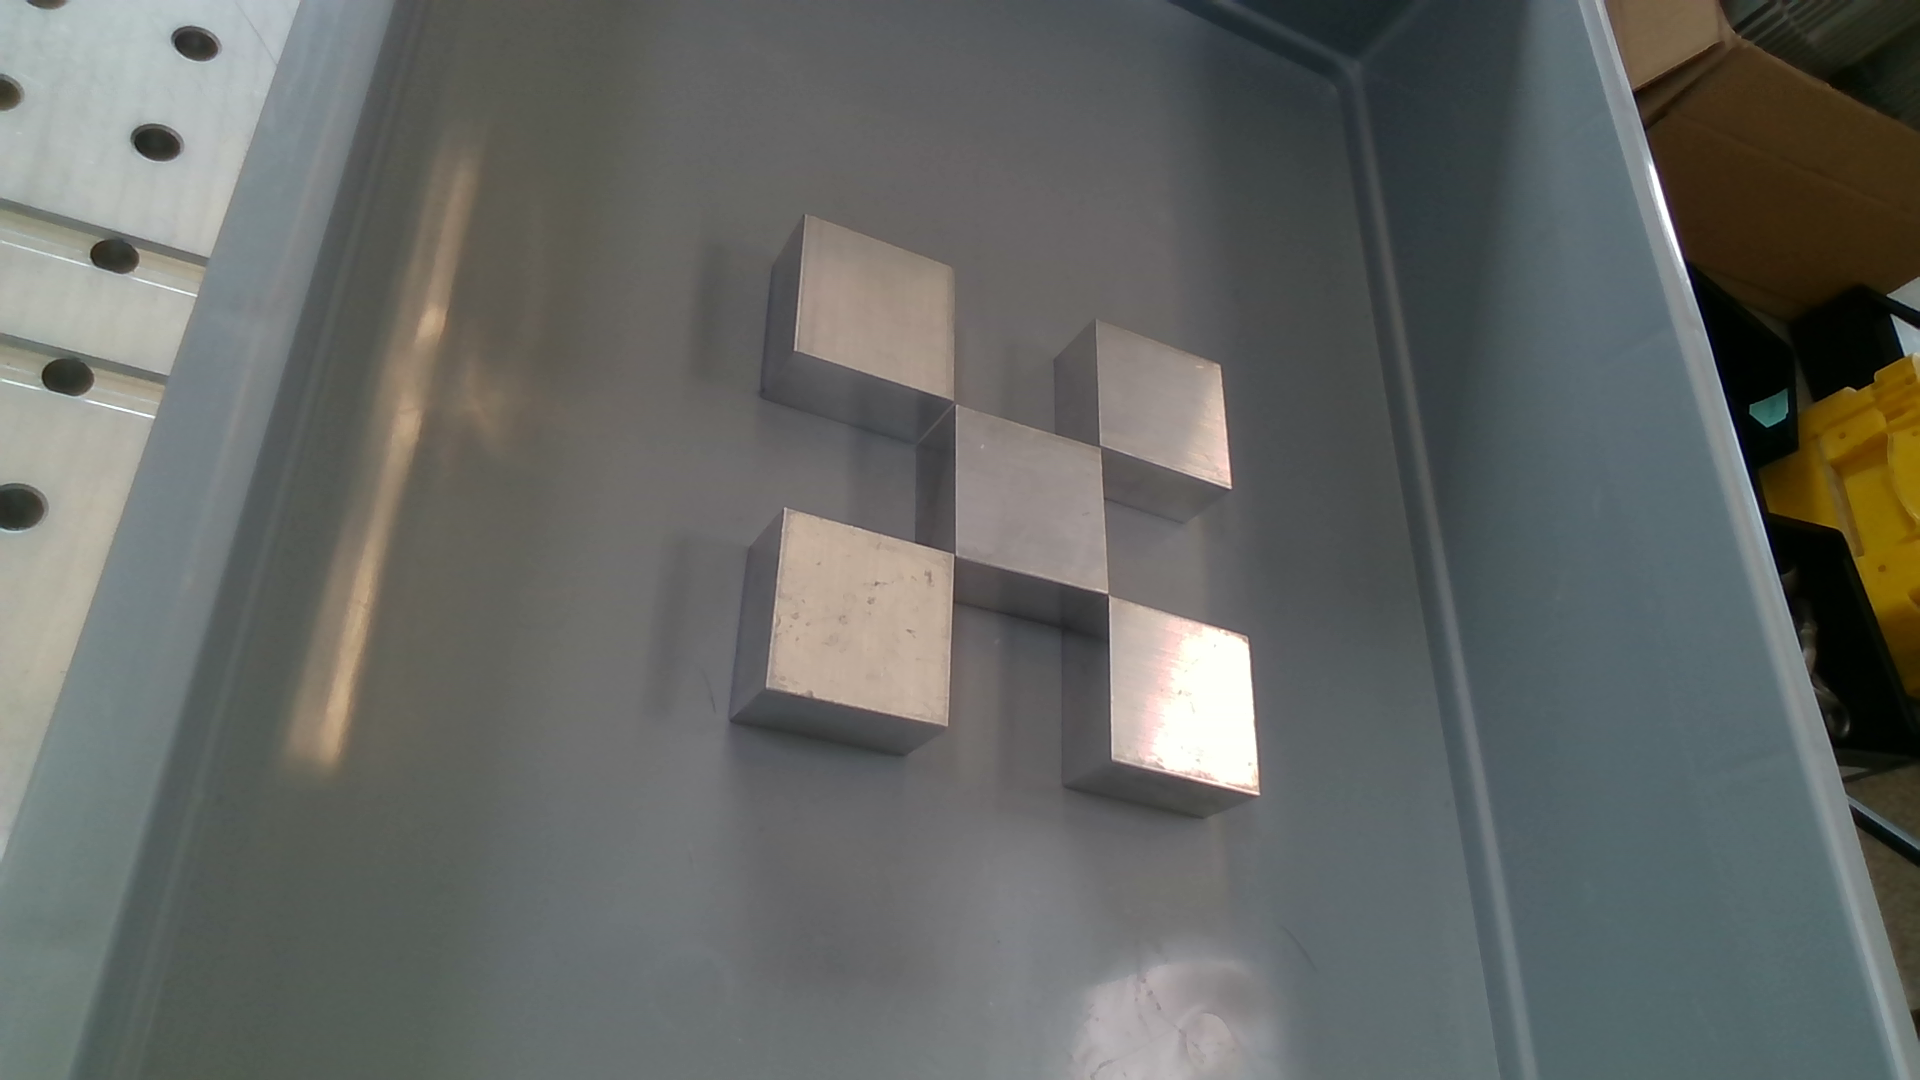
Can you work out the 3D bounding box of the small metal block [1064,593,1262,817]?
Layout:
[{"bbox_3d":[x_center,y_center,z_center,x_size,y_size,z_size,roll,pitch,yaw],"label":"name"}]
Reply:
[{"bbox_3d":[0.058,0.049,0.401,0.050,0.025,0.050,16,58,-24],"label":"small metal block"}]

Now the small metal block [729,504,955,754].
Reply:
[{"bbox_3d":[-0.030,0.024,0.360,0.050,0.025,0.050,15,58,-24],"label":"small metal block"}]

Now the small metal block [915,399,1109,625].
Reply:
[{"bbox_3d":[0.015,-0.007,0.404,0.050,0.025,0.050,15,58,-25],"label":"small metal block"}]

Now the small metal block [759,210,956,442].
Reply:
[{"bbox_3d":[-0.029,-0.063,0.407,0.050,0.025,0.050,15,58,-25],"label":"small metal block"}]

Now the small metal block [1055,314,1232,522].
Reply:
[{"bbox_3d":[0.059,-0.039,0.449,0.050,0.025,0.050,16,58,-24],"label":"small metal block"}]
